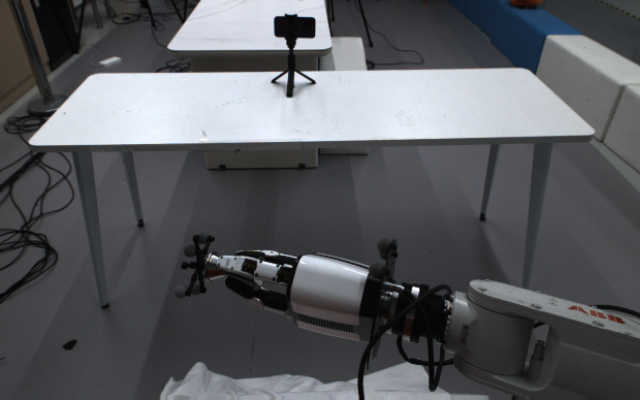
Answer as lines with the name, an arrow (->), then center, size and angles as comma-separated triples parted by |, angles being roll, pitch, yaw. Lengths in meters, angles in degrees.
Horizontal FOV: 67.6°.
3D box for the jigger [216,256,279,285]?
jigger -> -0.103, 0.087, 0.624 | 0.071, 0.043, 0.043 | 5, 35, 13
